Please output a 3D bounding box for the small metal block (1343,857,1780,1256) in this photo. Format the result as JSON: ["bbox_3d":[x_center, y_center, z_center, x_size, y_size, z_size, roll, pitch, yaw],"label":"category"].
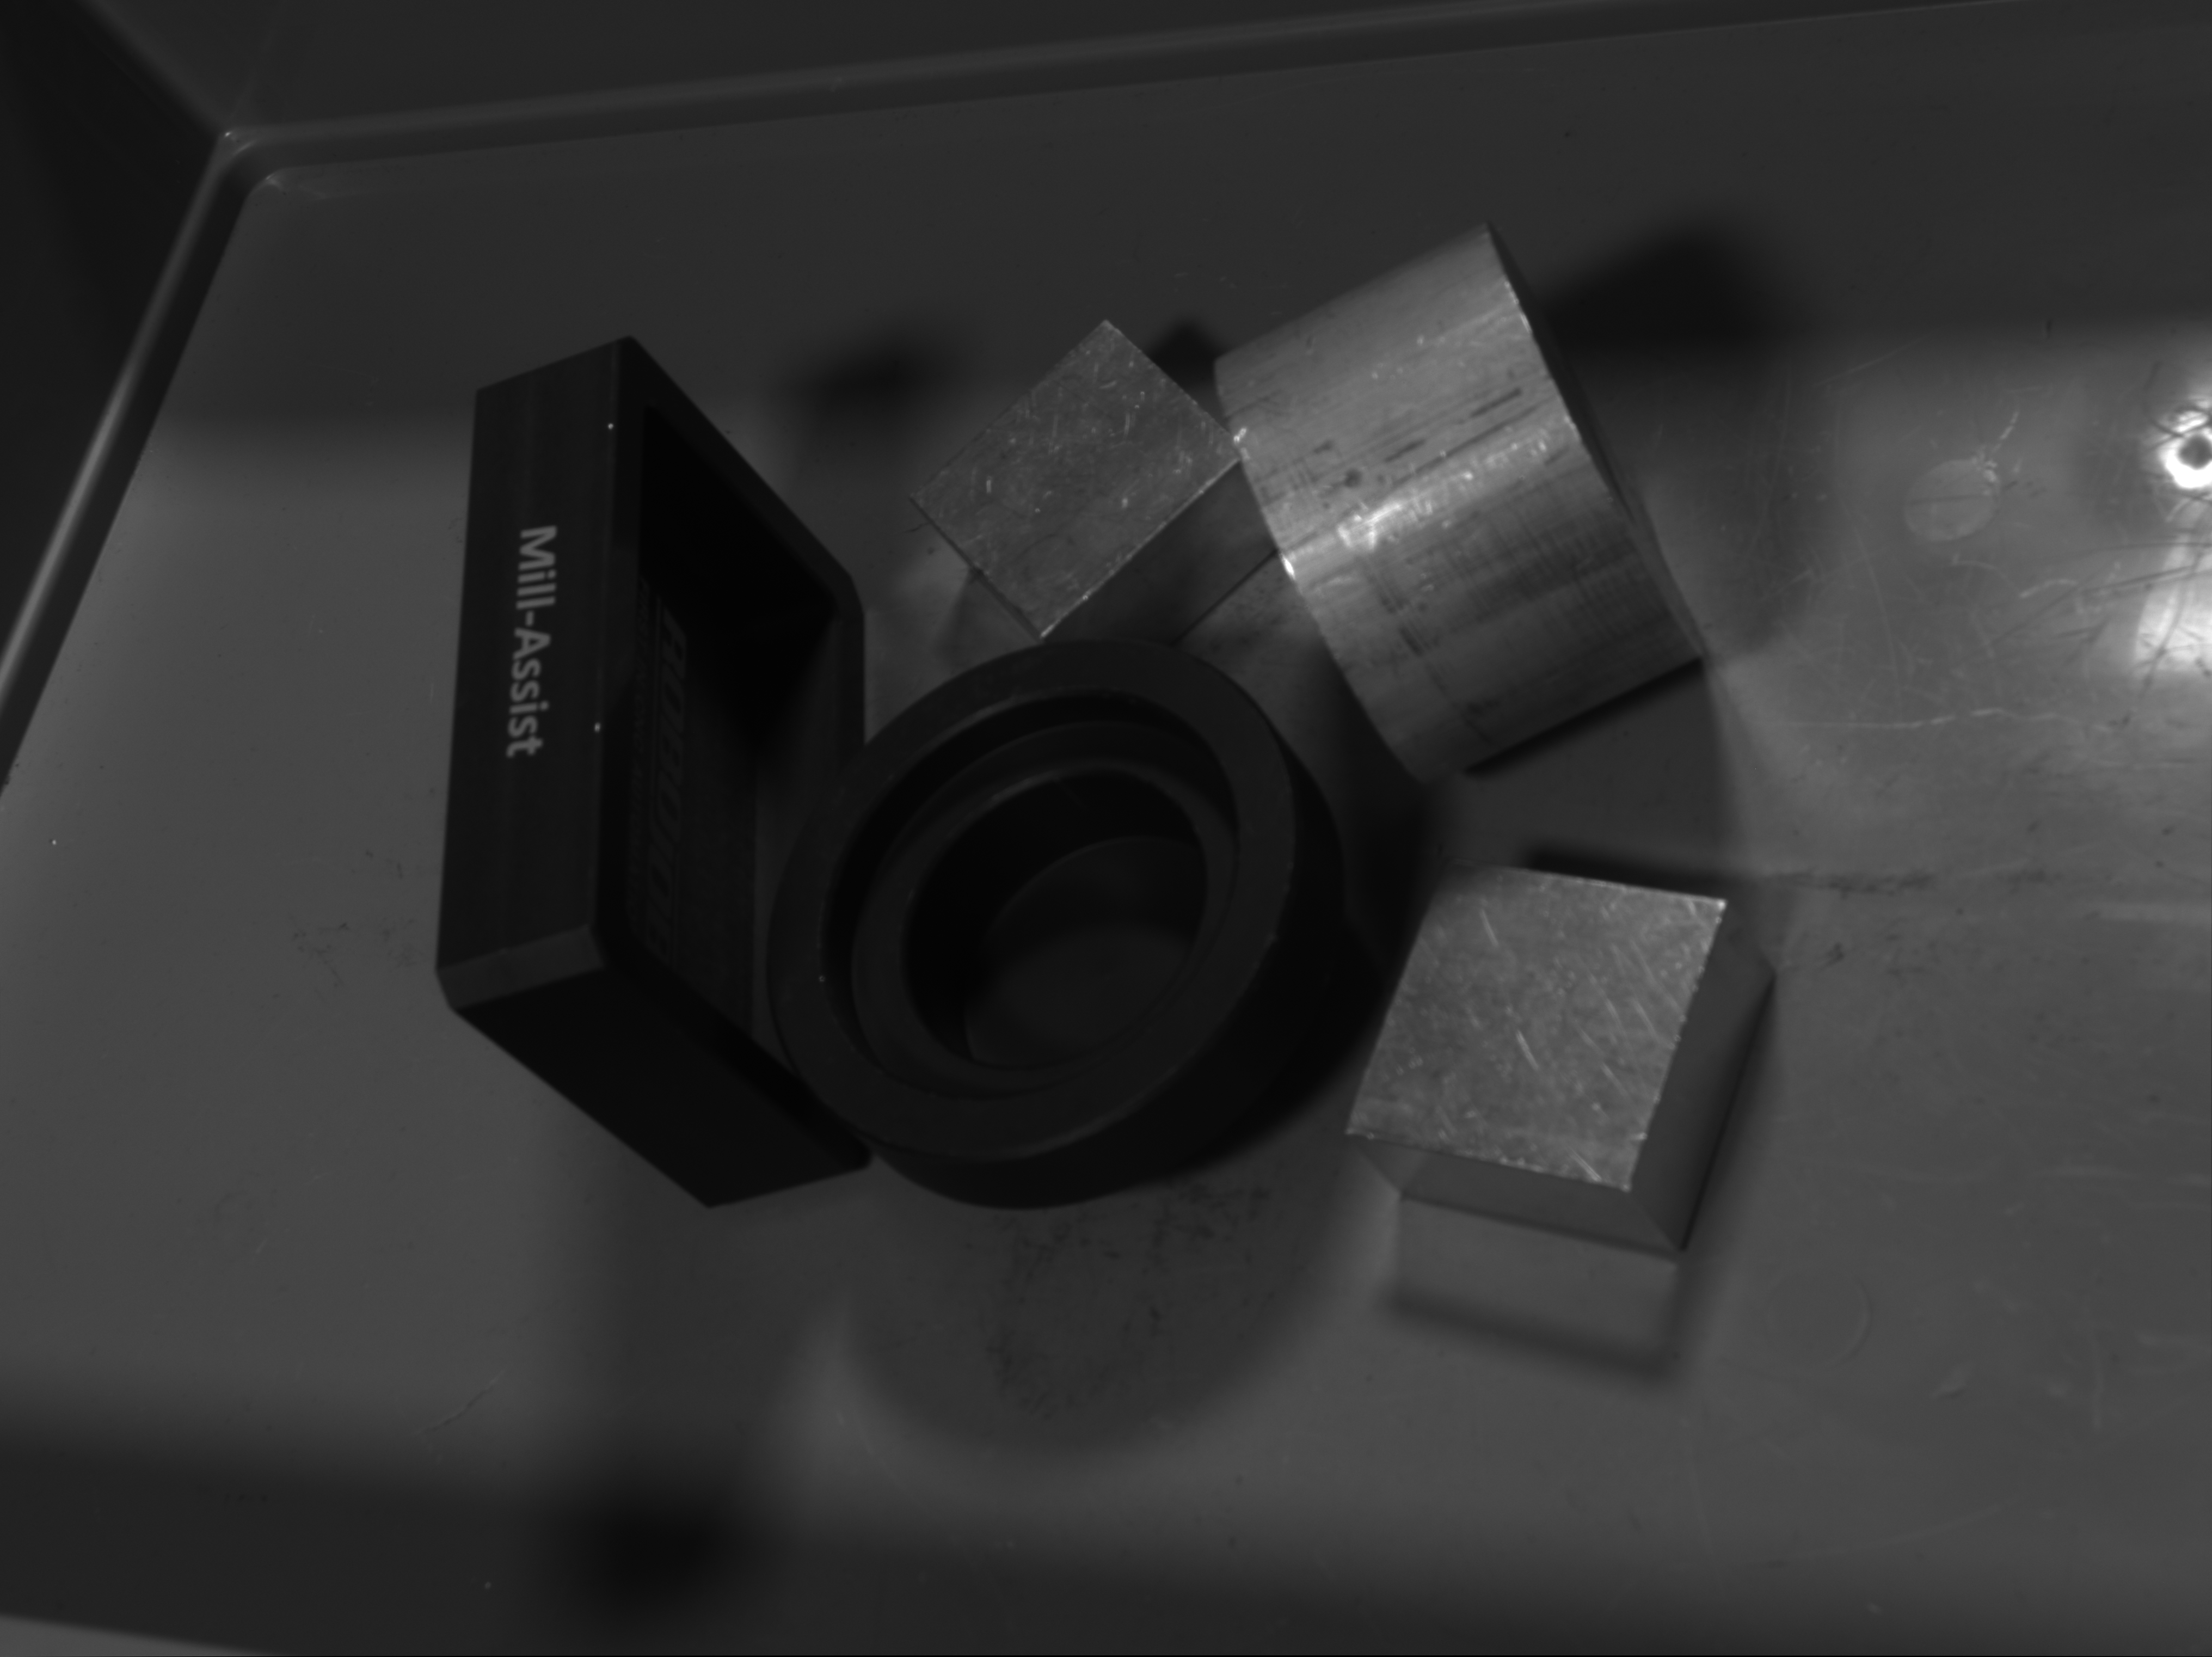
[{"bbox_3d":[0.073,0.036,0.582,0.050,0.025,0.050,9,65,34],"label":"small metal block"}]

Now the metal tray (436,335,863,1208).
[{"bbox_3d":[-0.077,-0.010,0.648,0.030,0.090,0.130,-16,55,20],"label":"metal tray"}]

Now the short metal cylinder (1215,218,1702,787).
[{"bbox_3d":[0.059,-0.054,0.609,0.050,0.080,0.080,-26,52,12],"label":"short metal cylinder"}]

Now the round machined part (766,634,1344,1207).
[{"bbox_3d":[-0.005,0.019,0.621,0.098,0.042,0.098,-13,56,21],"label":"round machined part"}]

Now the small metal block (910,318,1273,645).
[{"bbox_3d":[0.000,-0.059,0.679,0.050,0.025,0.050,-42,49,0],"label":"small metal block"}]
